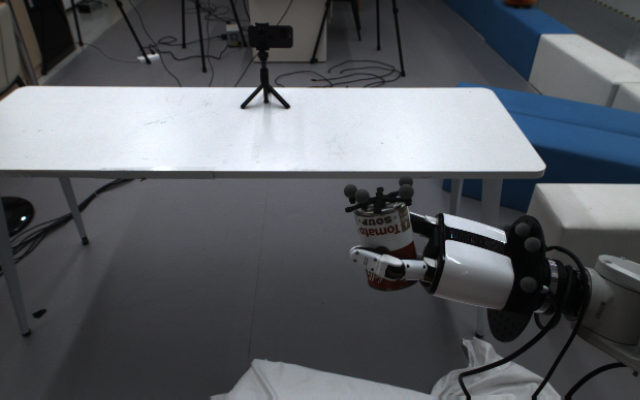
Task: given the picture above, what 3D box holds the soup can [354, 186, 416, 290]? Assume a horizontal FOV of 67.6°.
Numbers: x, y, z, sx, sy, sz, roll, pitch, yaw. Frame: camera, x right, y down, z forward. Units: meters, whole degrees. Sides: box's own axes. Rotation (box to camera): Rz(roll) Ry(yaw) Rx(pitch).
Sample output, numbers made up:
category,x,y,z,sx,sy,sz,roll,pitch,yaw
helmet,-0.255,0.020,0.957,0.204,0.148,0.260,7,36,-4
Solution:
category,x,y,z,sx,sy,sz,roll,pitch,yaw
soup can,0.085,0.050,0.598,0.067,0.101,0.067,-12,17,4
